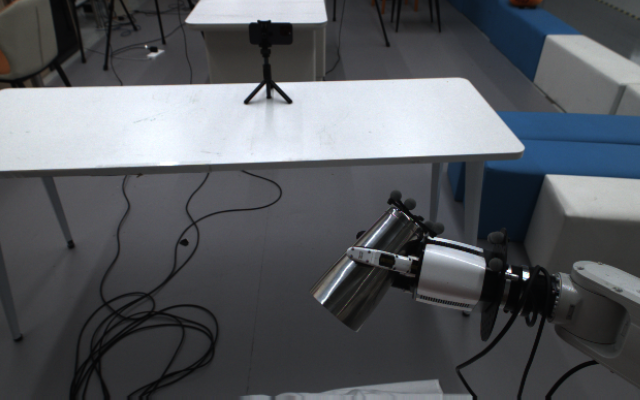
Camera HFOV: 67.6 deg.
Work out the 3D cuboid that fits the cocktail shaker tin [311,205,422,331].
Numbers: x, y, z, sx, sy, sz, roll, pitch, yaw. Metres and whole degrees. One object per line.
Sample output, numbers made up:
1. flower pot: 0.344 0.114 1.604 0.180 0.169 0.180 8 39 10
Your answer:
1. cocktail shaker tin: 0.075 0.091 0.703 0.170 0.093 0.093 -48 49 -3
